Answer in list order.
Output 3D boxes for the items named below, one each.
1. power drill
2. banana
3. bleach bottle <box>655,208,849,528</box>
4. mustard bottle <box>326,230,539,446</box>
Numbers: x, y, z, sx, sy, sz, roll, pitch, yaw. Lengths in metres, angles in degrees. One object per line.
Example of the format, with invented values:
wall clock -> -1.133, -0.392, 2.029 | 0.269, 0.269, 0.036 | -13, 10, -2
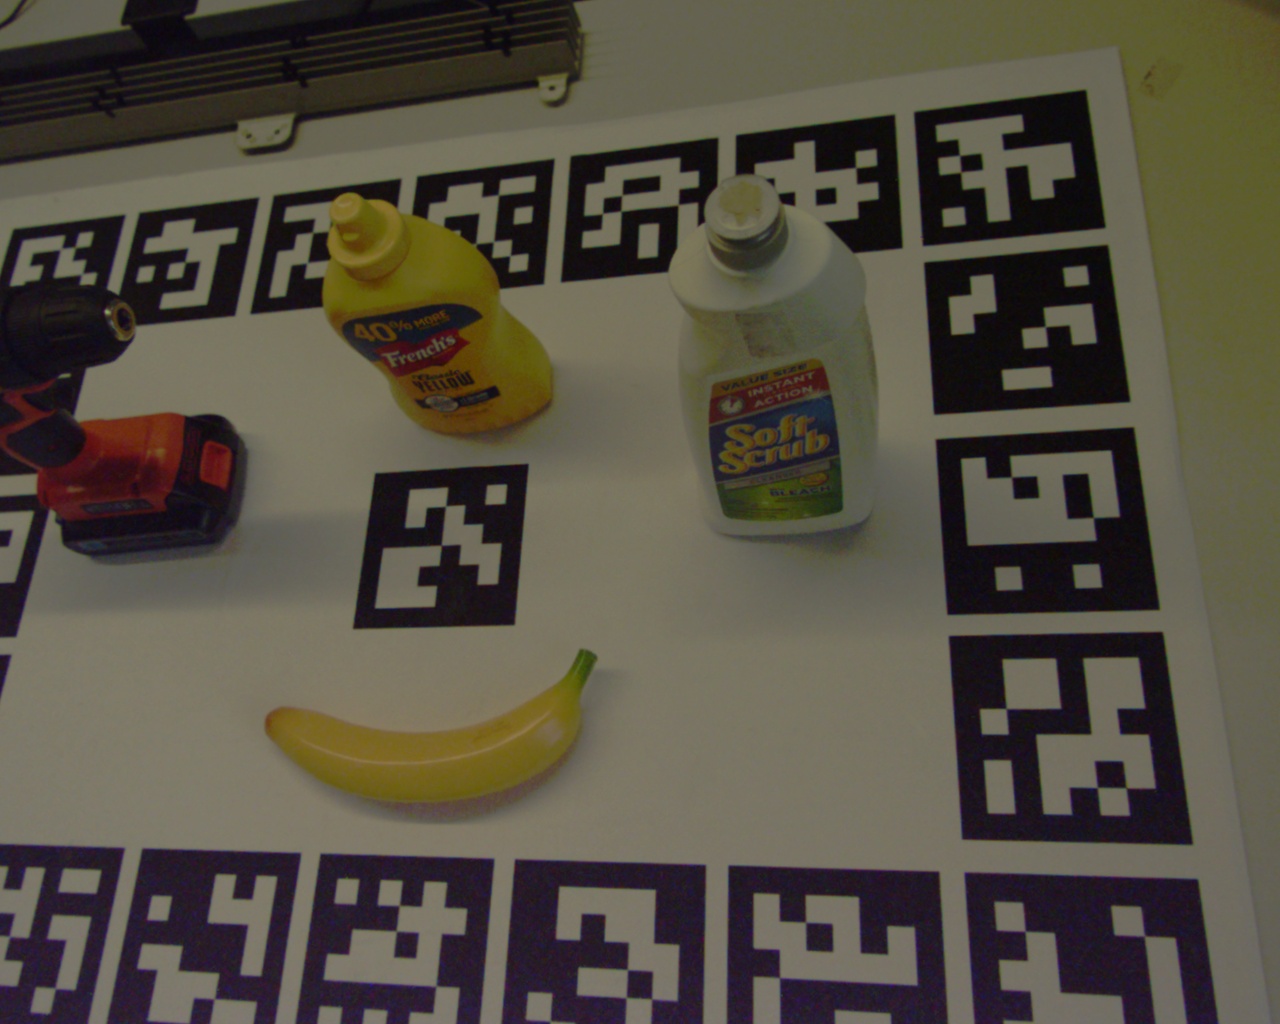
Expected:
power drill -> -0.320, -0.060, 0.666 | 0.186, 0.185, 0.057 | -10, 67, 14
banana -> -0.122, 0.120, 0.647 | 0.198, 0.038, 0.074 | -9, 69, 14
bleach bottle -> 0.050, -0.065, 0.569 | 0.103, 0.248, 0.068 | 5, 70, 15
mustard bottle -> -0.128, -0.103, 0.666 | 0.096, 0.190, 0.058 | -10, 67, 8
